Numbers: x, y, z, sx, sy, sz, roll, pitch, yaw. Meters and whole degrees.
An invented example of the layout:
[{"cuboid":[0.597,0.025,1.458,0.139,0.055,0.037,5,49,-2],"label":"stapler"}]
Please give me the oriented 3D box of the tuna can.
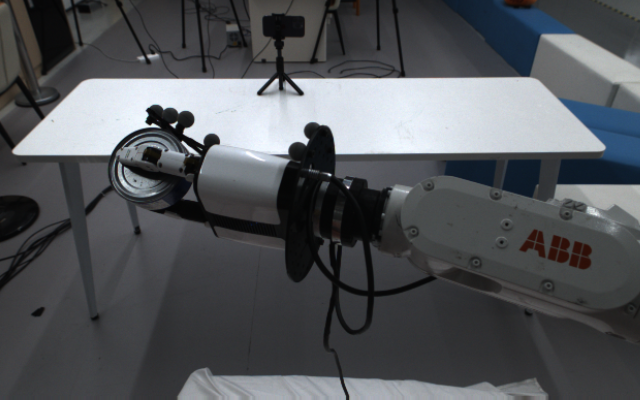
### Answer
[{"cuboid":[-0.181,-0.033,0.528,0.085,0.034,0.085,-2,70,6],"label":"tuna can"}]
